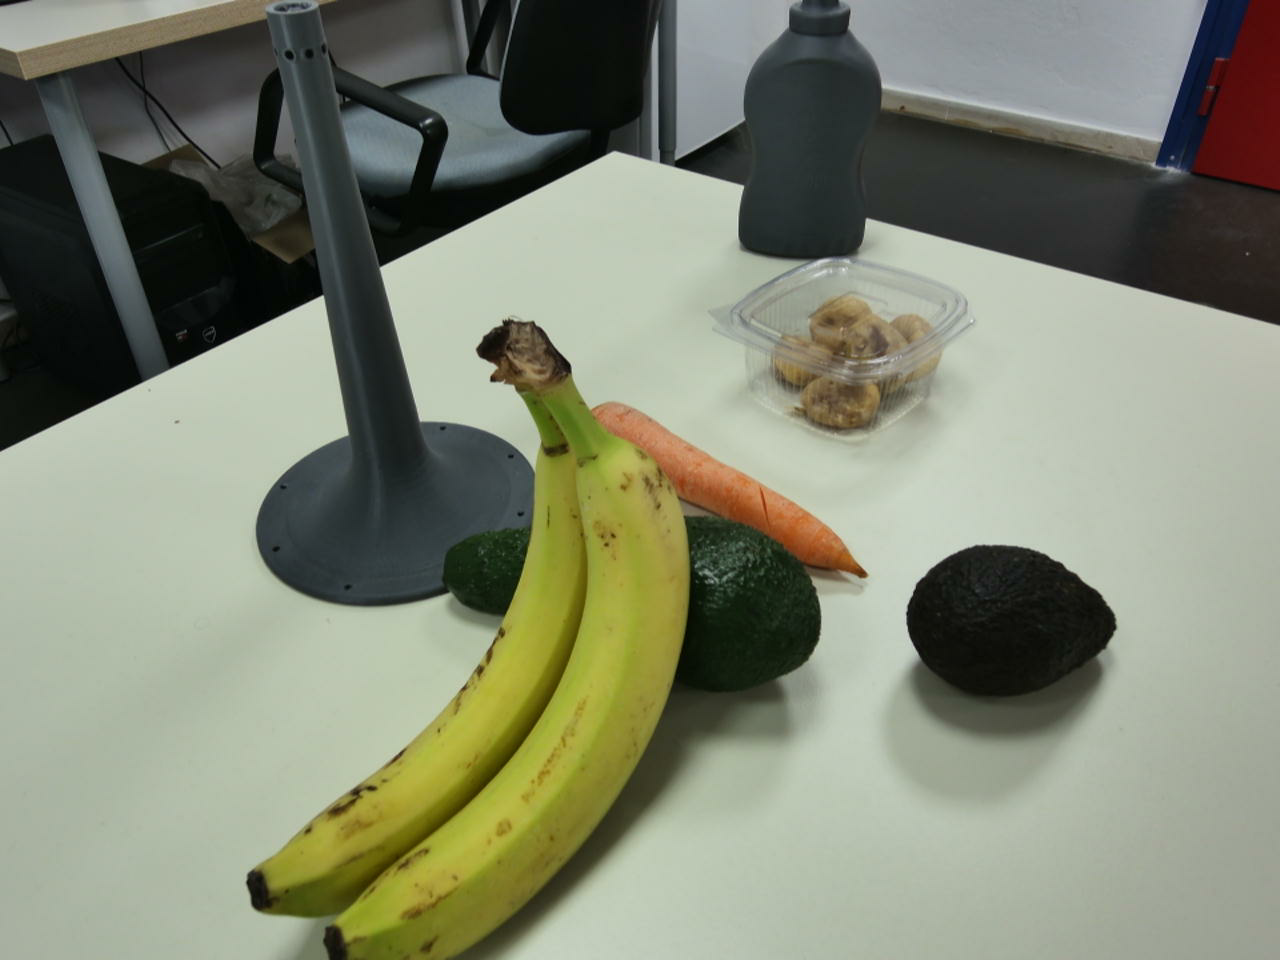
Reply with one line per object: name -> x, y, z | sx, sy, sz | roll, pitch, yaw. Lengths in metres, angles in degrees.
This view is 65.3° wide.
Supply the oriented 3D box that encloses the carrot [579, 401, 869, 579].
carrot -> 0.045, 0.002, 0.567 | 0.196, 0.041, 0.039 | 26, 44, 29
